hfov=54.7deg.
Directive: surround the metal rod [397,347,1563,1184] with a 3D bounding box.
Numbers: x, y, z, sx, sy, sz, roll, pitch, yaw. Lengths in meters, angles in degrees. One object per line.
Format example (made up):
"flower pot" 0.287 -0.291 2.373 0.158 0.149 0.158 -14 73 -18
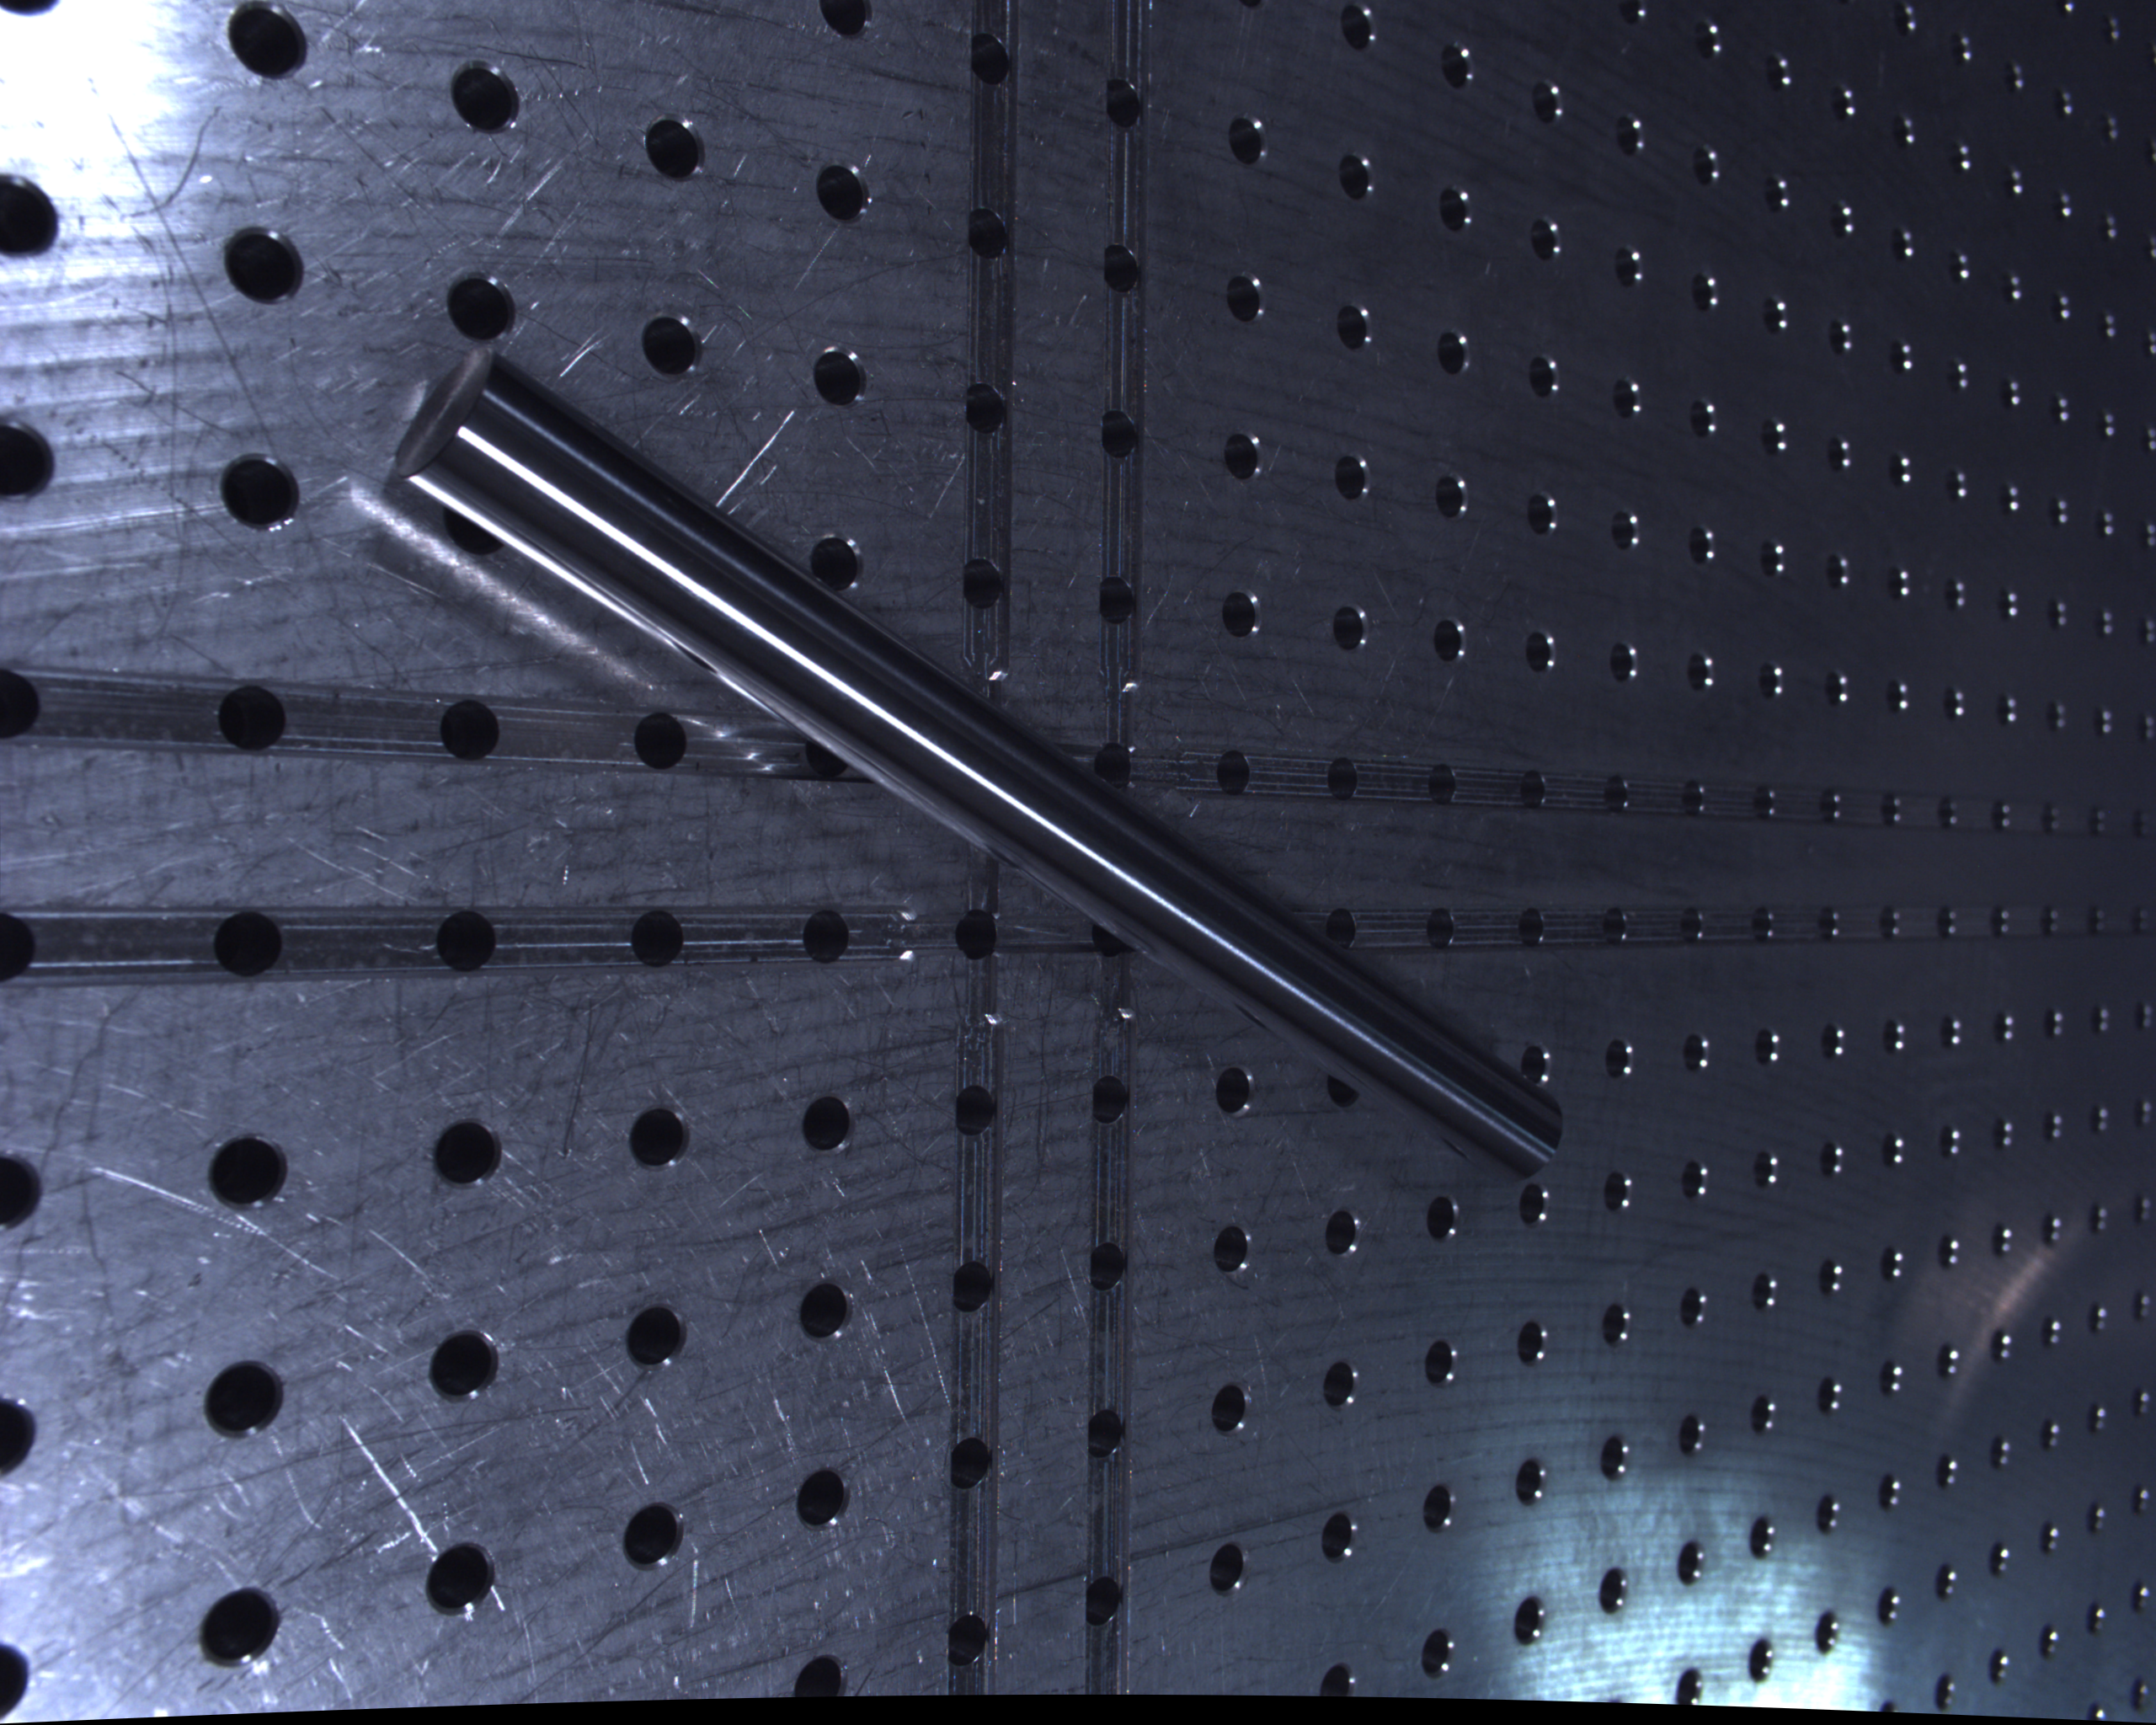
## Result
"metal rod" 0.003 -0.003 0.414 0.301 0.025 0.025 34 69 -35
